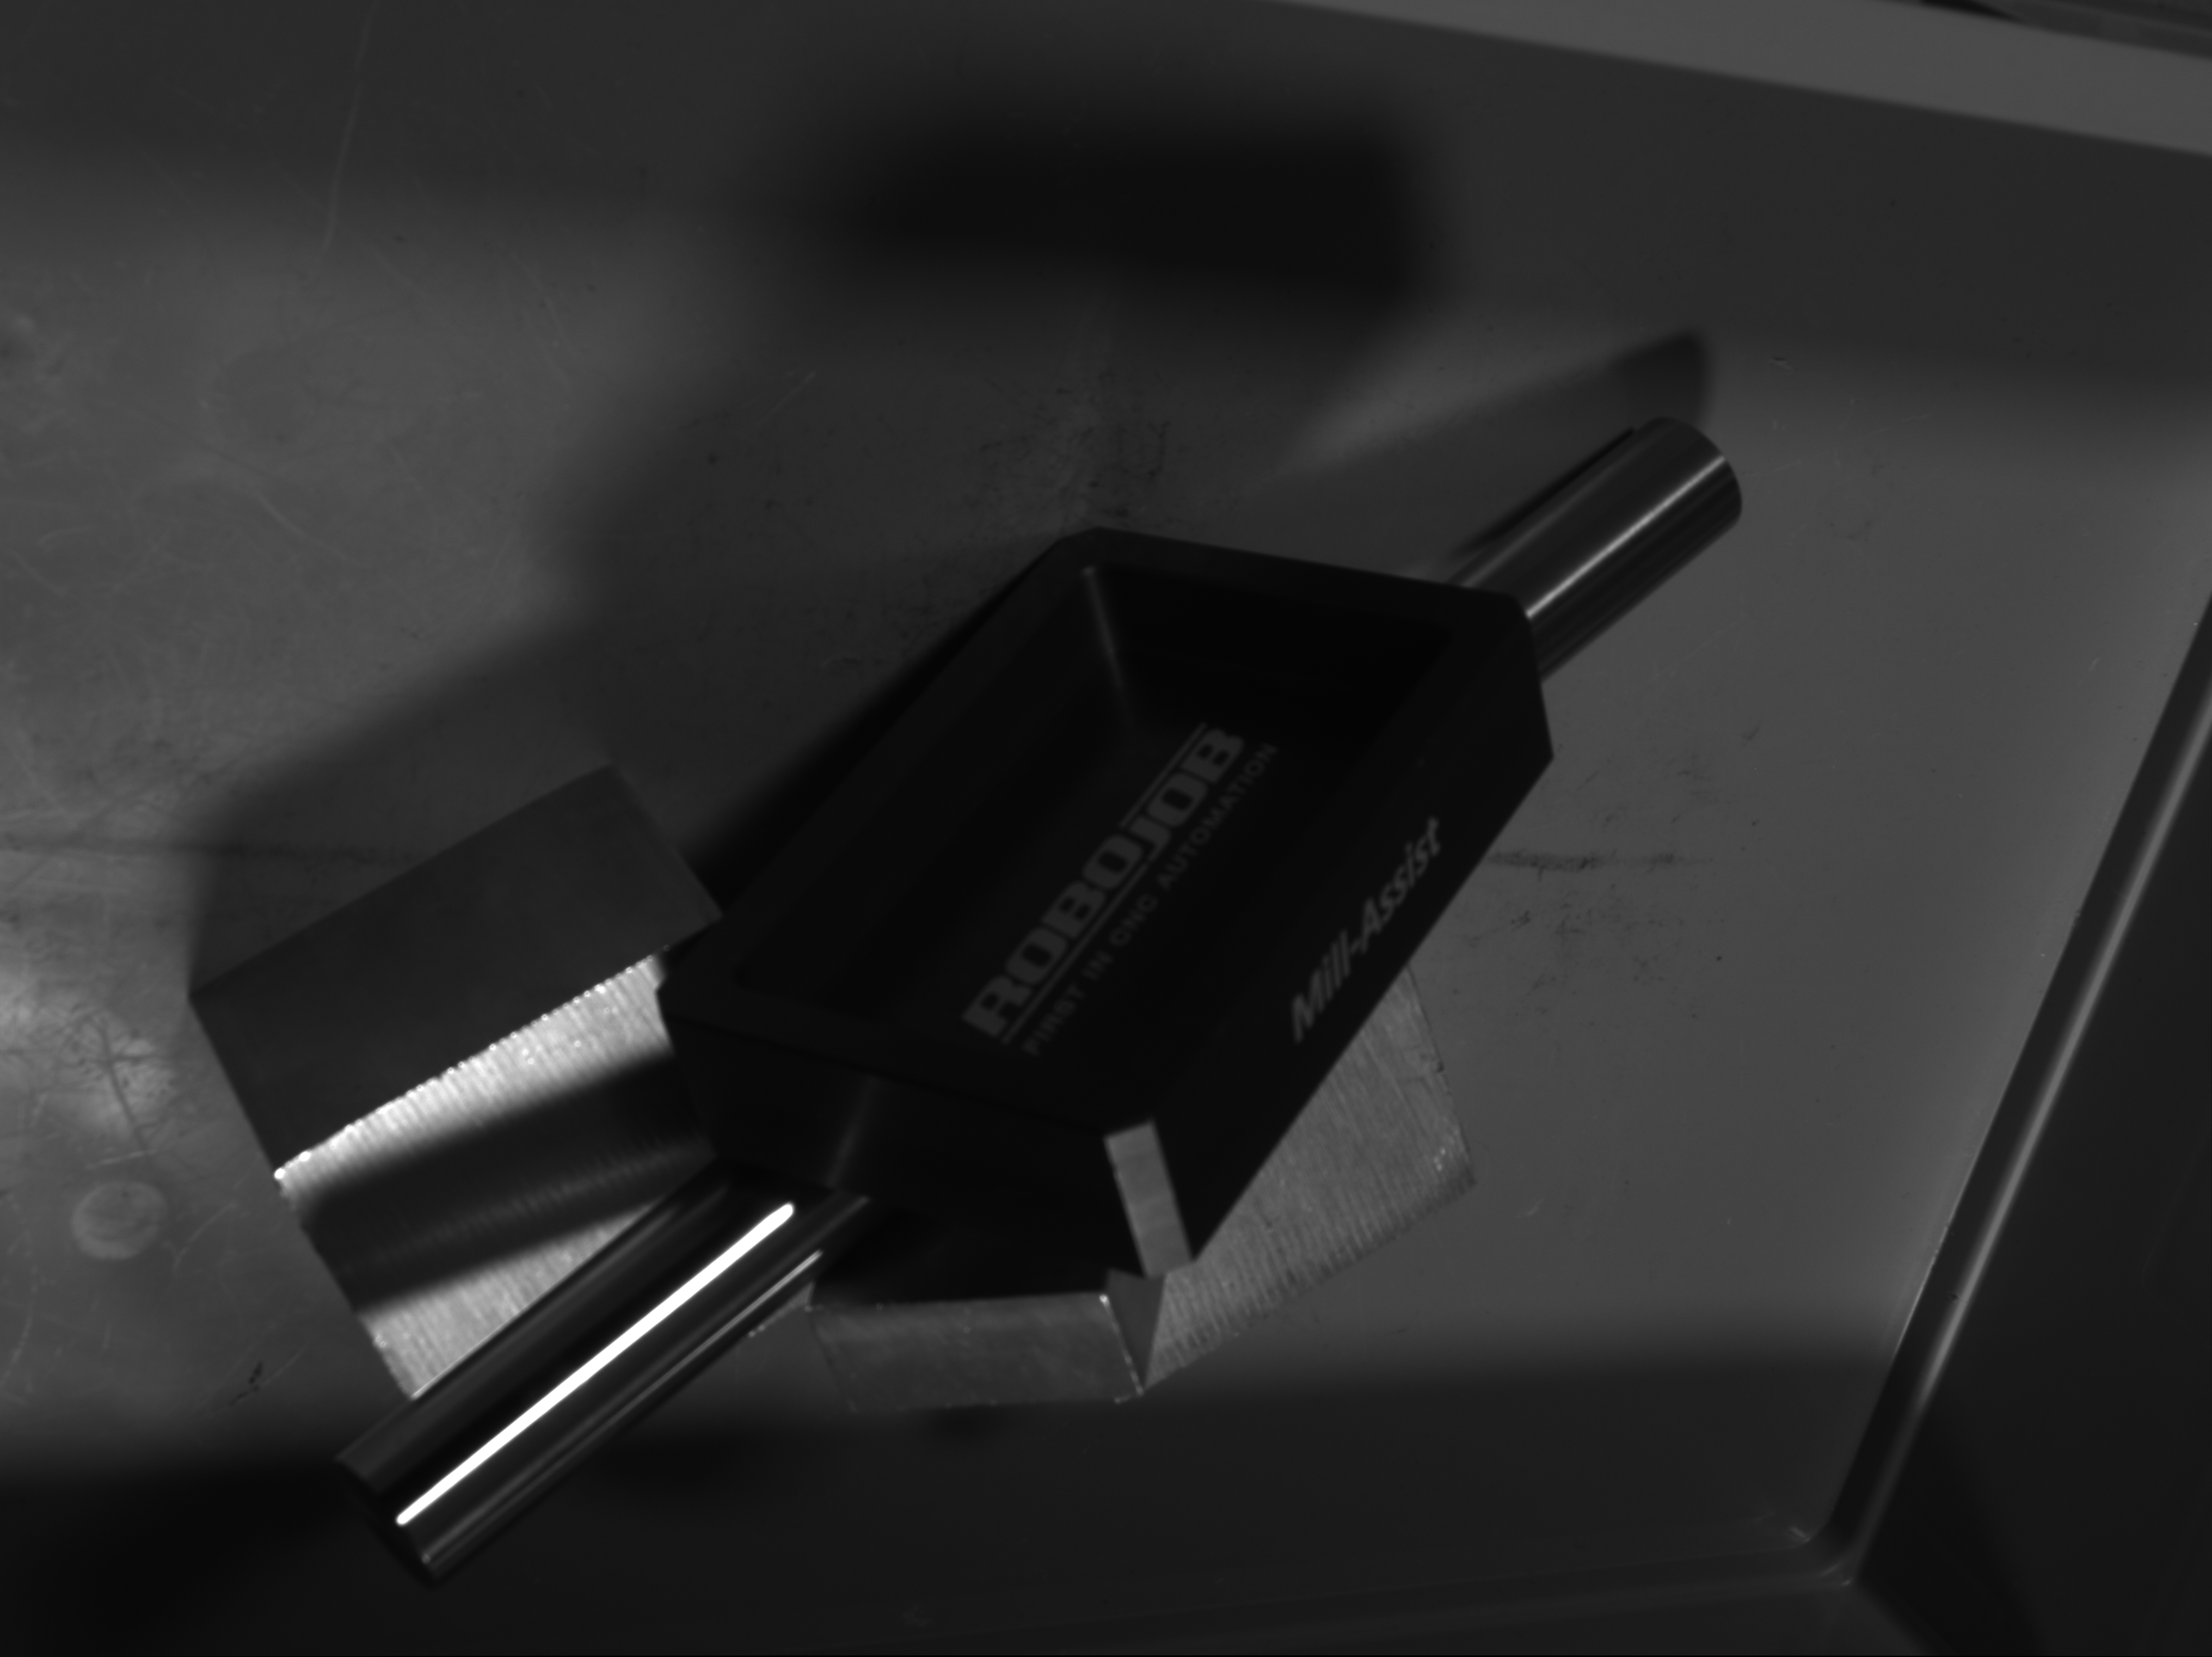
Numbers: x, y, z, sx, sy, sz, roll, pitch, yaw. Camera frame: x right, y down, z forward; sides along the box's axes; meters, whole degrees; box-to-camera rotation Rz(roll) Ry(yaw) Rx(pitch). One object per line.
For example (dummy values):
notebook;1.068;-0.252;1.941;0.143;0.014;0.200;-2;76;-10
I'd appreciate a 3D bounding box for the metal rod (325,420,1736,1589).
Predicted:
metal rod;-0.002;0.020;0.612;0.300;0.025;0.025;-38;132;-24

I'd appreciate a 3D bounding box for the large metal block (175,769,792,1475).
large metal block;-0.094;0.051;0.607;0.080;0.050;0.080;-30;129;-11

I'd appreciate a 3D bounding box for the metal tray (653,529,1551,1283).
metal tray;0.002;0.007;0.577;0.130;0.090;0.030;-51;140;-37

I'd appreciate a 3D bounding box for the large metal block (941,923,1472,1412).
large metal block;0.012;0.045;0.668;0.080;0.050;0.080;-30;129;-11

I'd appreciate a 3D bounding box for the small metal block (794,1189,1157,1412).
small metal block;-0.018;0.067;0.601;0.050;0.050;0.025;-5;129;16
